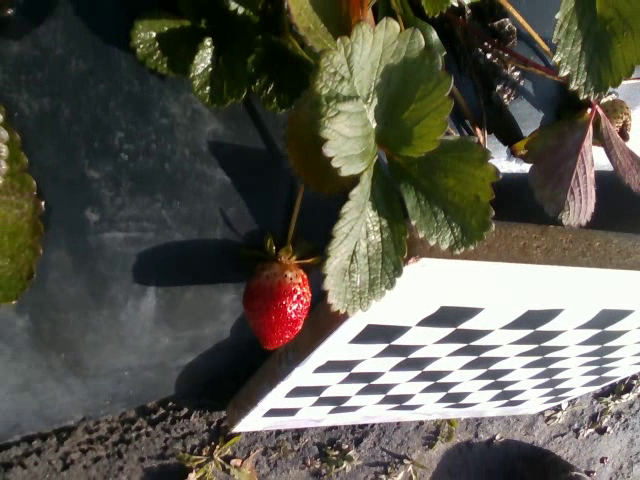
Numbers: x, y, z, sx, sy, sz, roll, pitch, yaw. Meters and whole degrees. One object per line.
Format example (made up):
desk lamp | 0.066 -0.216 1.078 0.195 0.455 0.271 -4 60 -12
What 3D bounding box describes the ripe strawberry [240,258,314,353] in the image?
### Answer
ripe strawberry | -0.016 0.025 0.217 0.034 0.038 0.033 4 7 -22
